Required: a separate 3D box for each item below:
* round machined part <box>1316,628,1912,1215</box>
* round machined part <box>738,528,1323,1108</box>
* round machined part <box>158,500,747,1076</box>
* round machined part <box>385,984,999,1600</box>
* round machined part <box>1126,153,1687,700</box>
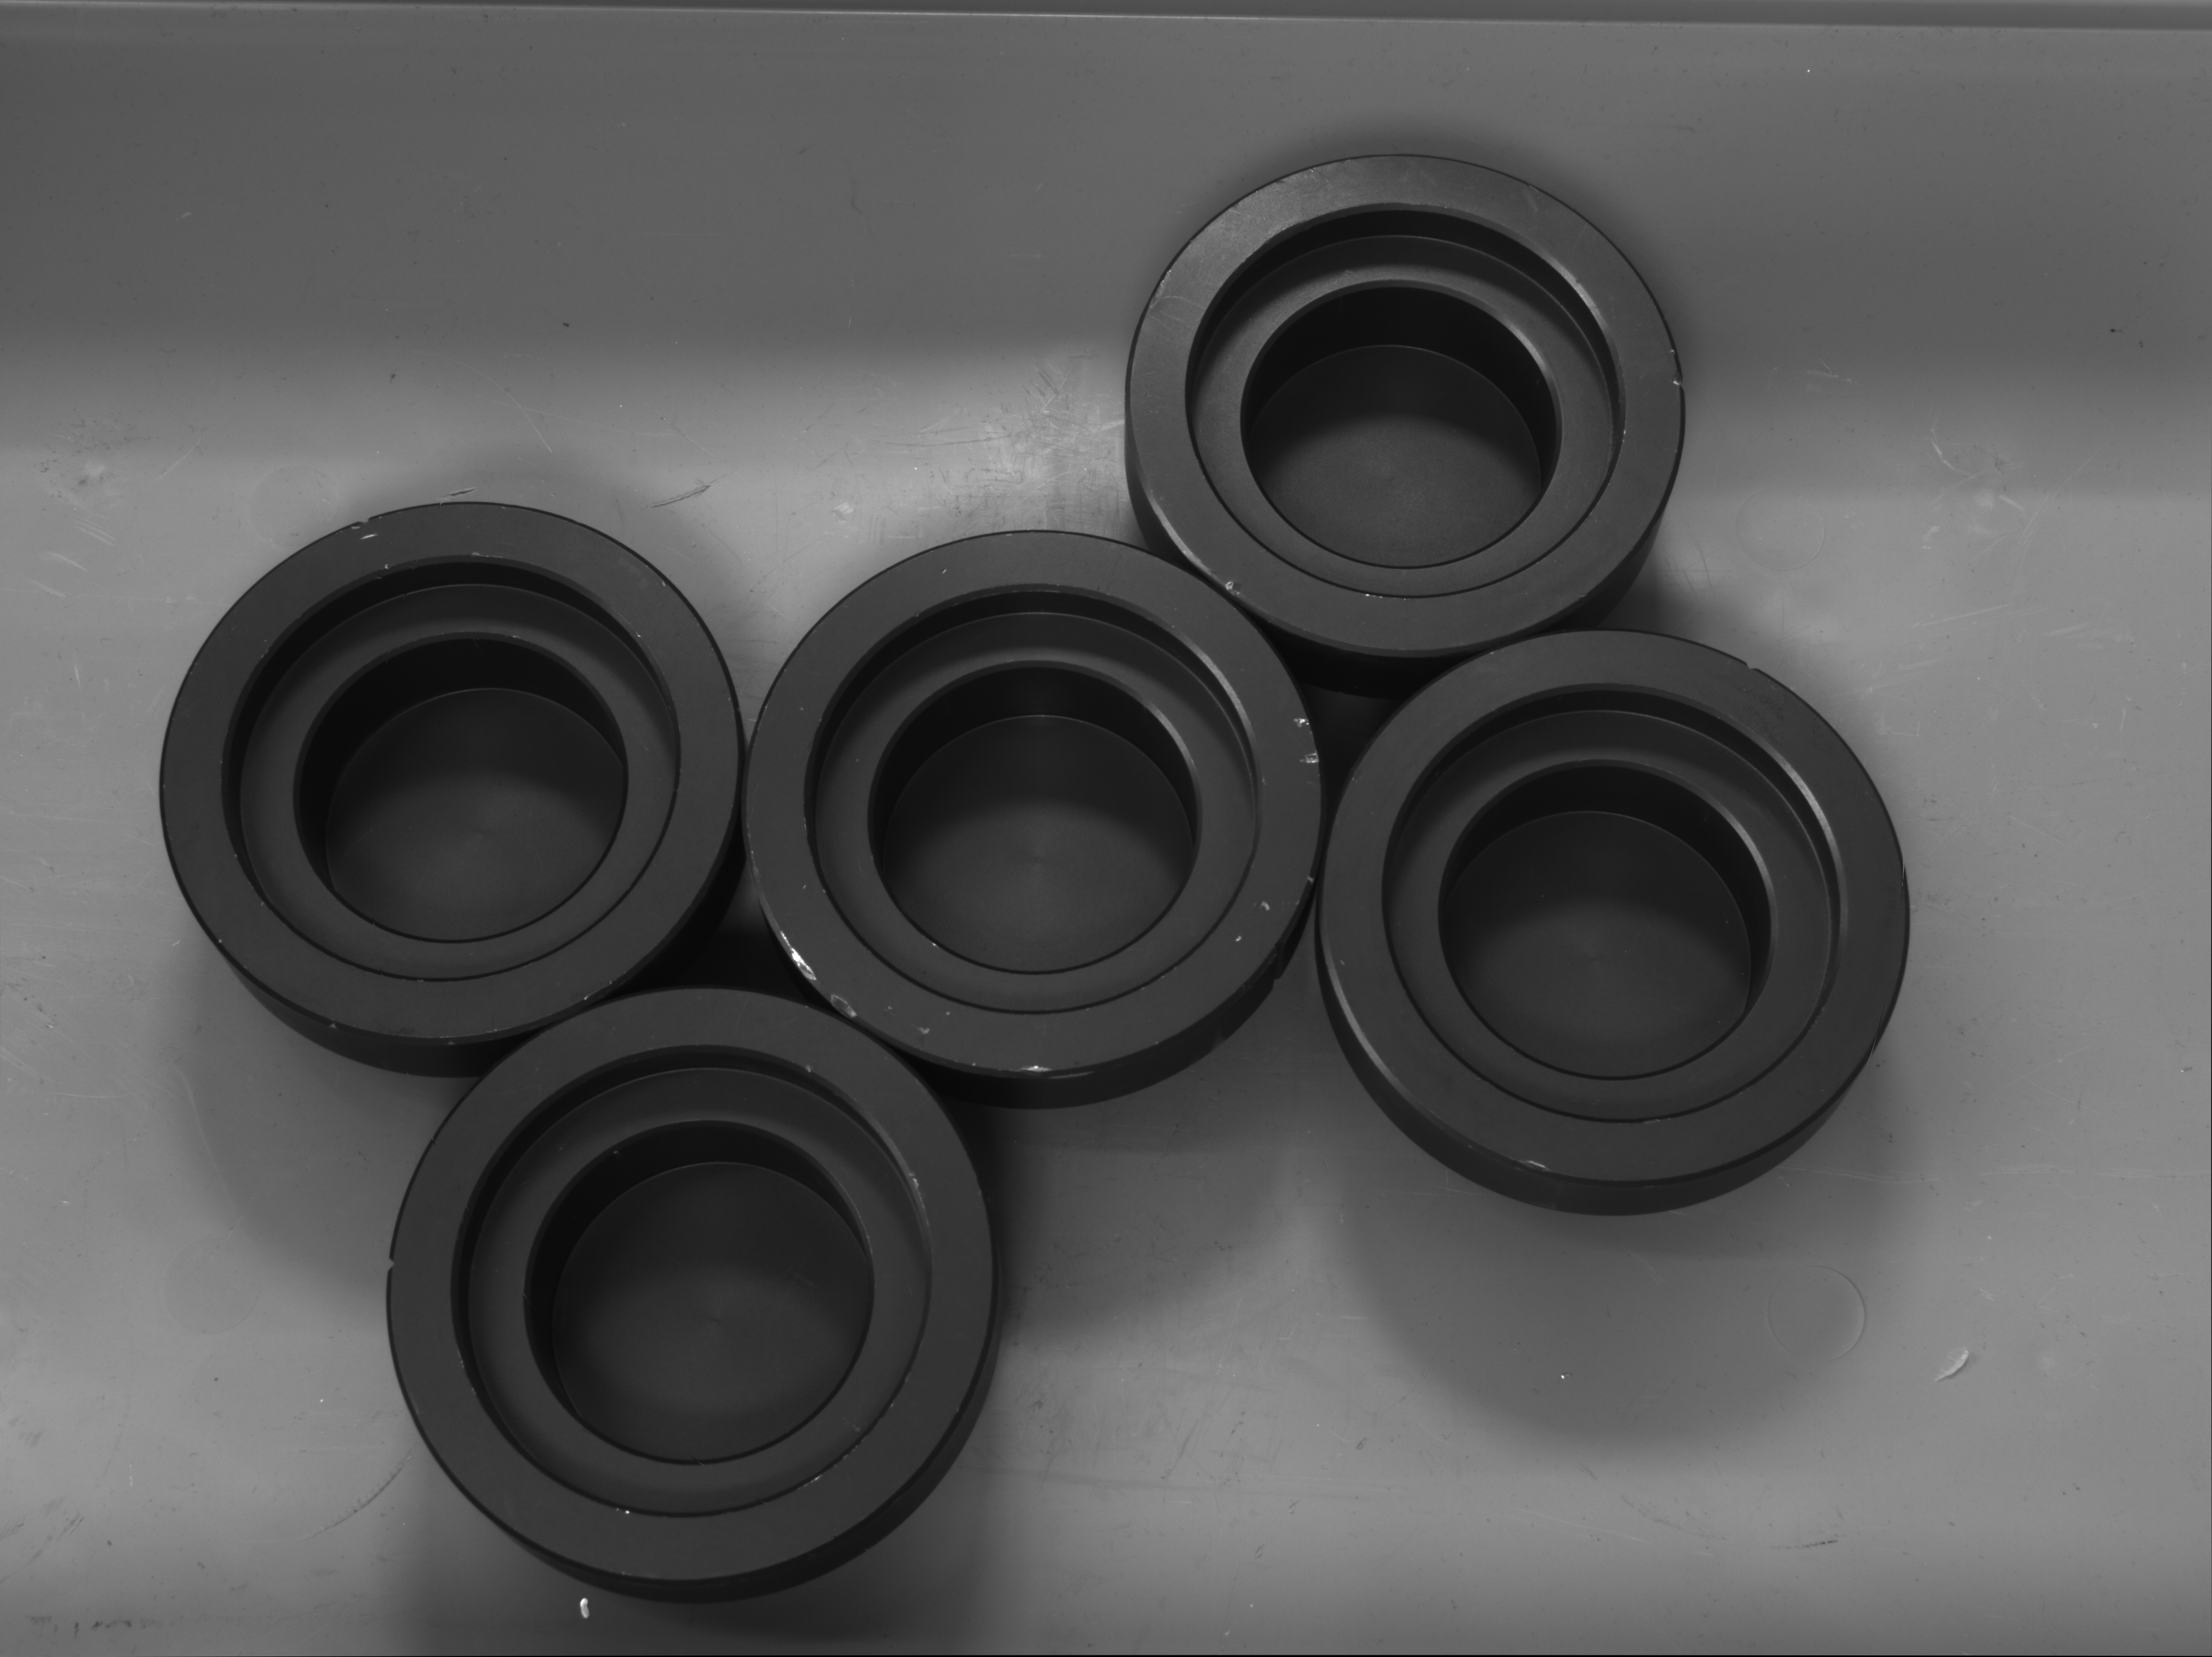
[{"bbox_3d":[0.085,0.019,0.626,0.098,0.042,0.098,0,70,0],"label":"round machined part"},{"bbox_3d":[-0.013,0.001,0.632,0.098,0.042,0.098,0,70,0],"label":"round machined part"},{"bbox_3d":[-0.110,-0.004,0.635,0.098,0.042,0.098,0,70,0],"label":"round machined part"},{"bbox_3d":[-0.066,0.078,0.604,0.098,0.042,0.098,0,70,0],"label":"round machined part"},{"bbox_3d":[0.053,-0.068,0.659,0.098,0.042,0.098,0,70,0],"label":"round machined part"}]
